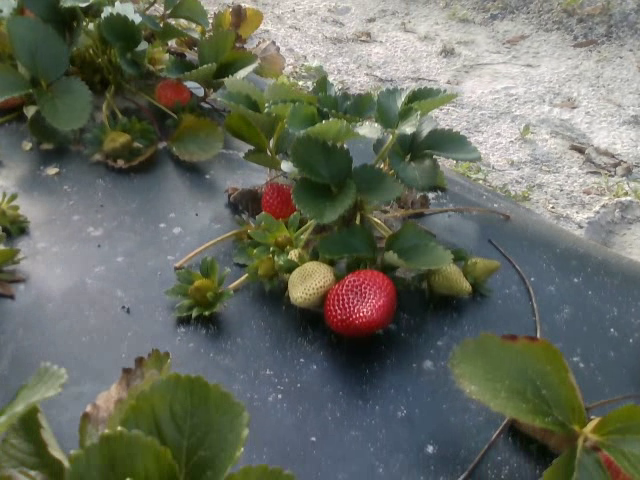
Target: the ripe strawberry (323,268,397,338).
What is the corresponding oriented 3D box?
[{"bbox_3d":[0.023,0.040,0.361,0.051,0.048,0.055,-36,5,7],"label":"ripe strawberry"}]
